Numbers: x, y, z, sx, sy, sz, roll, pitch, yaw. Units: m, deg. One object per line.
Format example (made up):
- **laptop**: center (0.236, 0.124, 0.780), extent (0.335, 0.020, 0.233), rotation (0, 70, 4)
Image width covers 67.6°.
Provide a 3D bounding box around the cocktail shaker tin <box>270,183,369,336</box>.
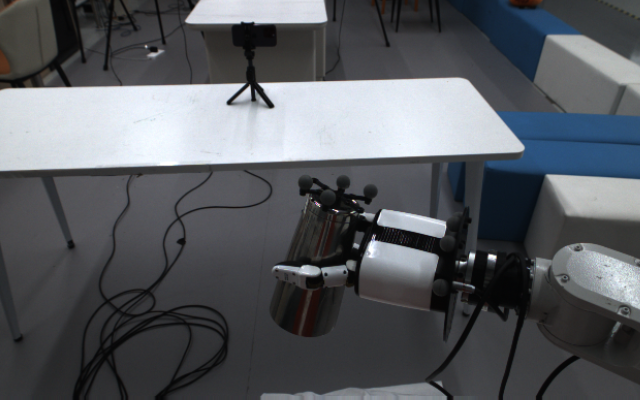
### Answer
- **cocktail shaker tin**: center (0.000, 0.074, 0.610), extent (0.093, 0.170, 0.093), rotation (11, 24, -5)
